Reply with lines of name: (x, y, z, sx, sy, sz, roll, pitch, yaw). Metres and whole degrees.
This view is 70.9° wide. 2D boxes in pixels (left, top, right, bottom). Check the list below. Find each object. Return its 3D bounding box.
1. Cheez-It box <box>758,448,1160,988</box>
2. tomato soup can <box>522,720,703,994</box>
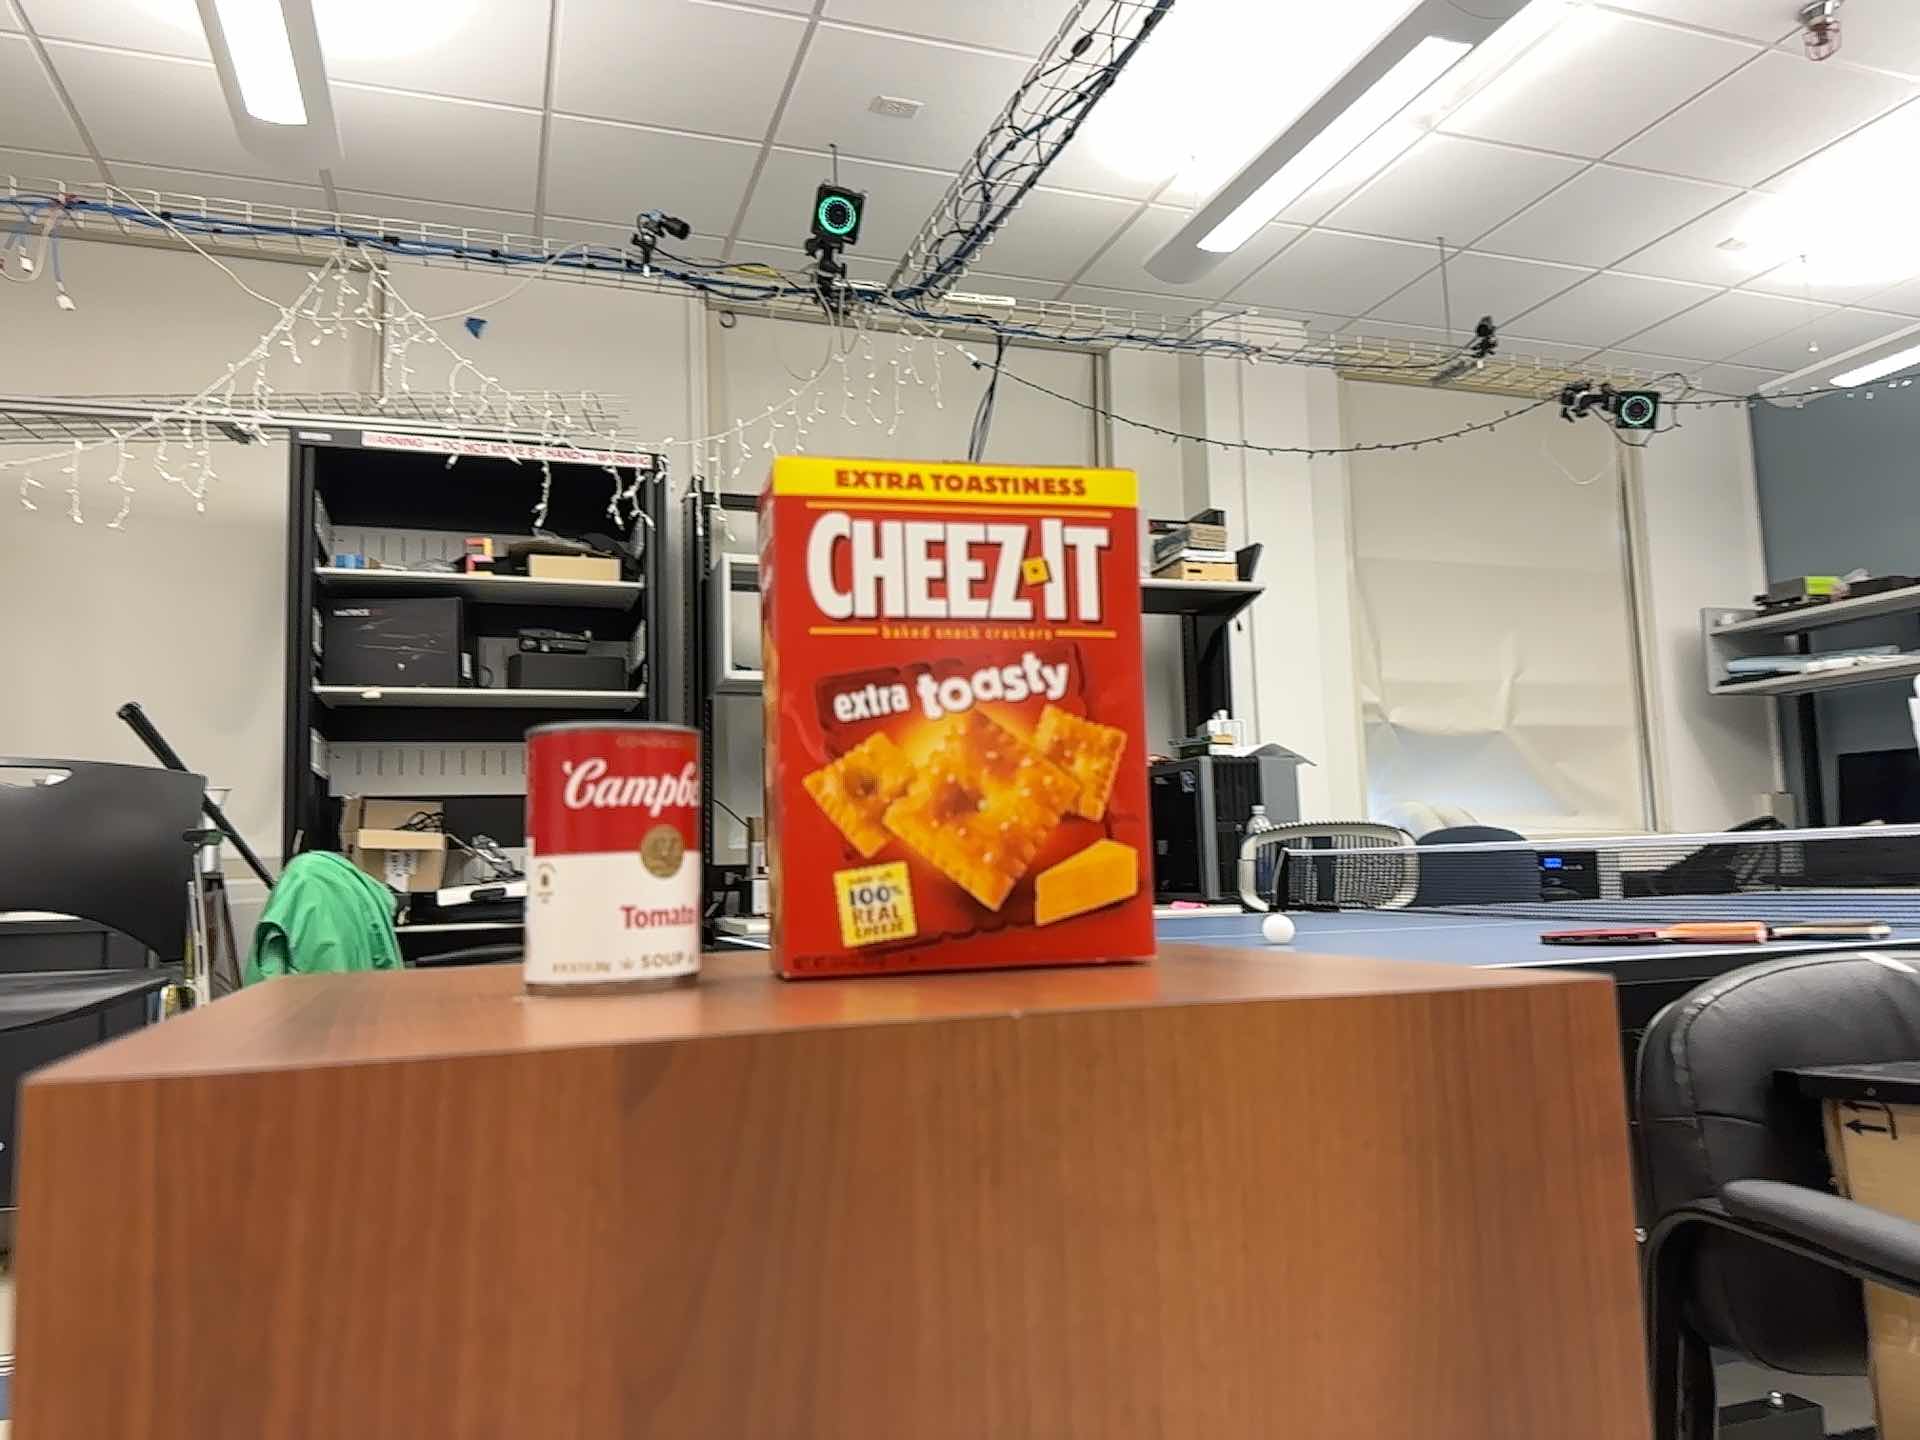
Cheez-It box: (-0.002, 0.001, 0.584, 0.159, 0.214, 0.062, 2, -8, -15)
tomato soup can: (-0.136, 0.055, 0.528, 0.067, 0.102, 0.067, -1, -9, 0)
